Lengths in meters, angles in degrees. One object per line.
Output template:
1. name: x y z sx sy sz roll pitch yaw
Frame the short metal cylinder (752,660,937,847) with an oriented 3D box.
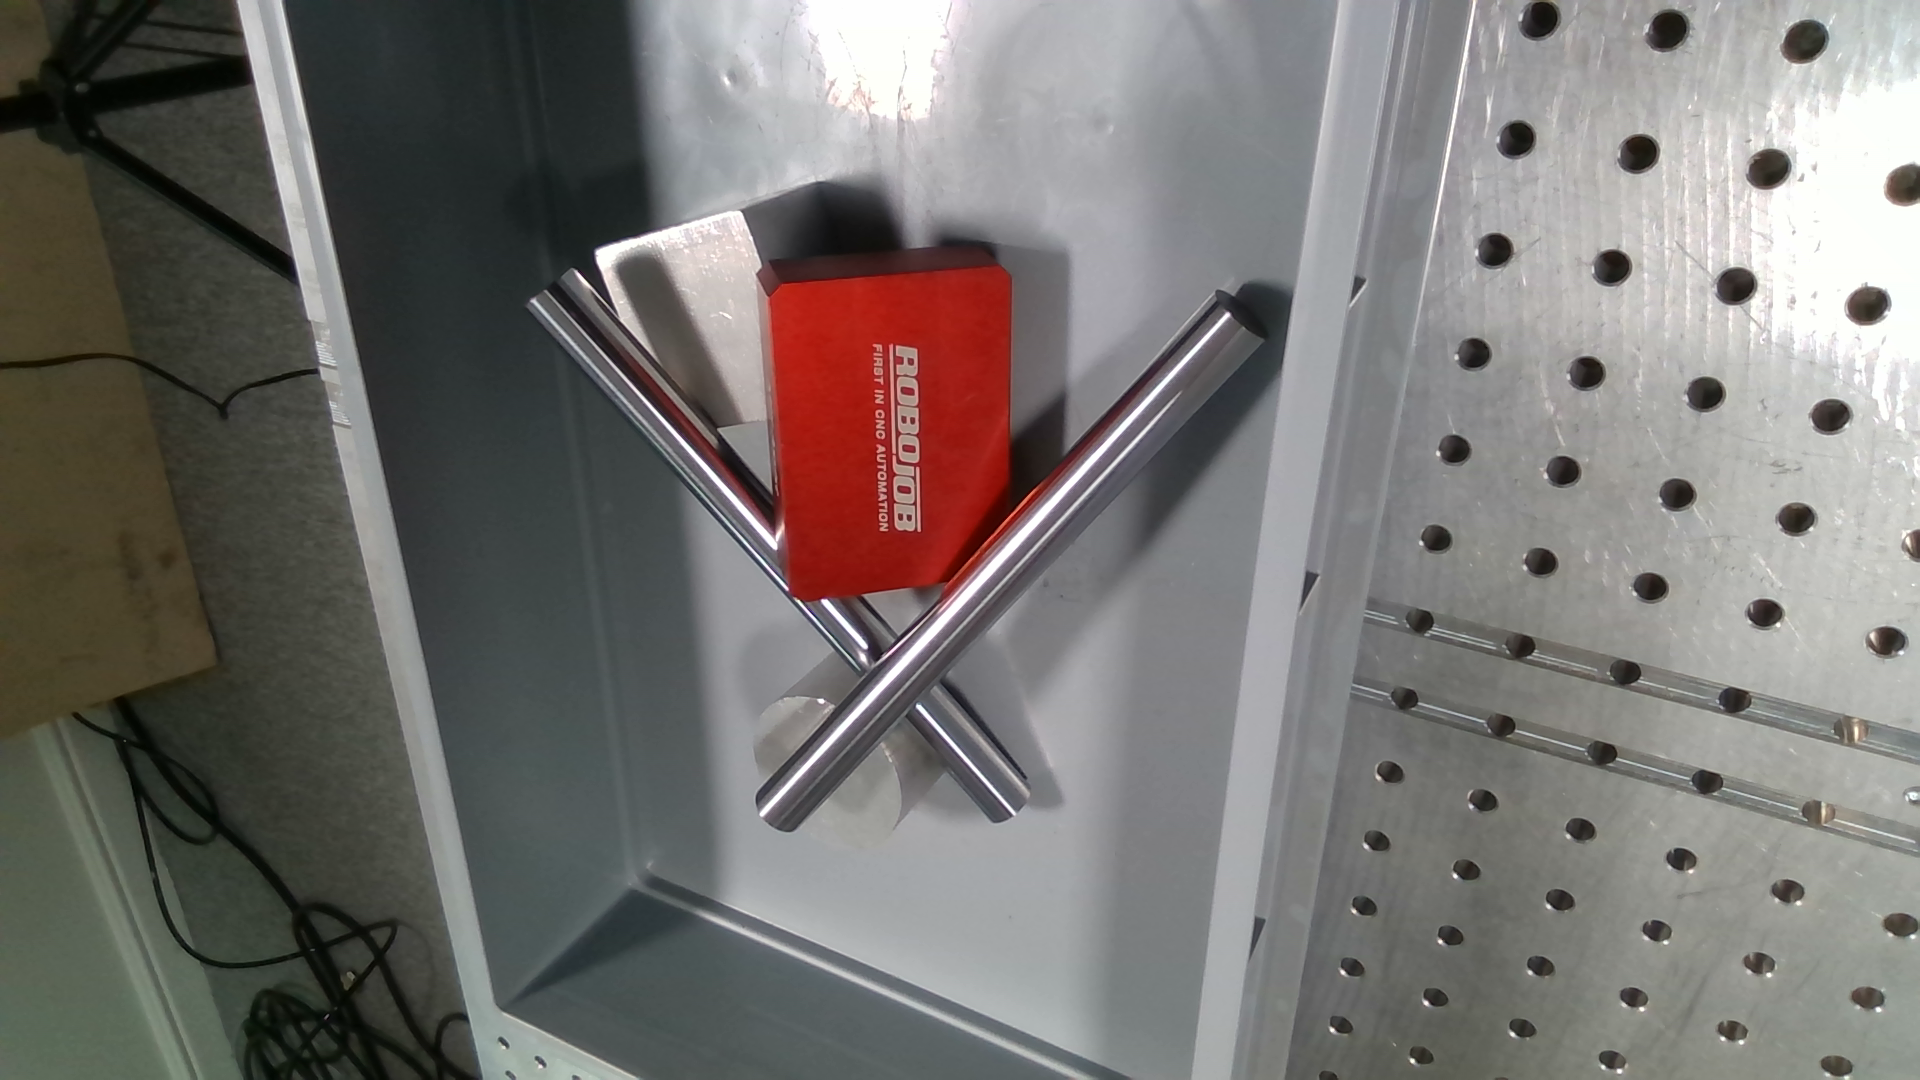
1. short metal cylinder: -0.050 0.095 0.644 0.080 0.050 0.080 14 122 25

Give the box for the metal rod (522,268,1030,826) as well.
1. metal rod: -0.069 0.012 0.580 0.025 0.025 0.301 -24 115 38

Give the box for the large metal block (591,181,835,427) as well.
1. large metal block: -0.092 -0.093 0.563 0.080 0.050 0.080 -5 112 34

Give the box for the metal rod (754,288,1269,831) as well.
1. metal rod: 0.009 0.020 0.546 0.025 0.025 0.301 44 117 4

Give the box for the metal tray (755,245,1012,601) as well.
1. metal tray: -0.029 -0.045 0.533 0.090 0.030 0.130 -7 118 -14
